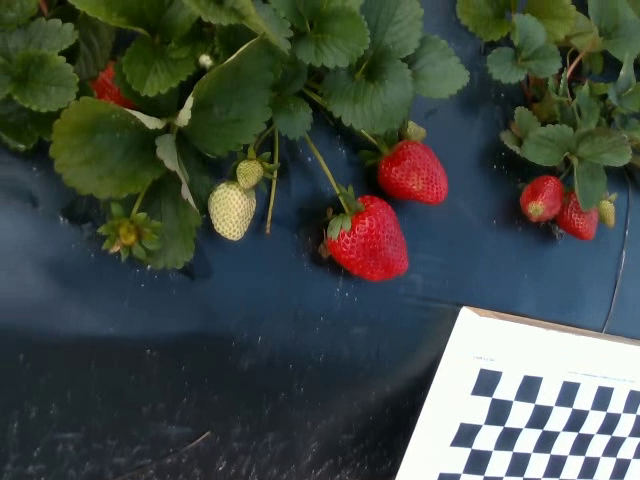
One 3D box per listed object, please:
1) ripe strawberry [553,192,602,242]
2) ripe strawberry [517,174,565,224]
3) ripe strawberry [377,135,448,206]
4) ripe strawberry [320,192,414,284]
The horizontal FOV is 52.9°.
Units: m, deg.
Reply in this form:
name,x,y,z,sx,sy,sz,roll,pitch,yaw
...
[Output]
name,x,y,z,sx,sy,sz,roll,pitch,yaw
ripe strawberry,0.222,-0.015,0.535,0.043,0.049,0.041,8,-46,-26
ripe strawberry,0.182,-0.030,0.525,0.039,0.047,0.053,19,31,30
ripe strawberry,0.073,-0.046,0.469,0.059,0.050,0.051,45,5,18
ripe strawberry,0.039,0.004,0.444,0.058,0.065,0.043,-42,14,2
